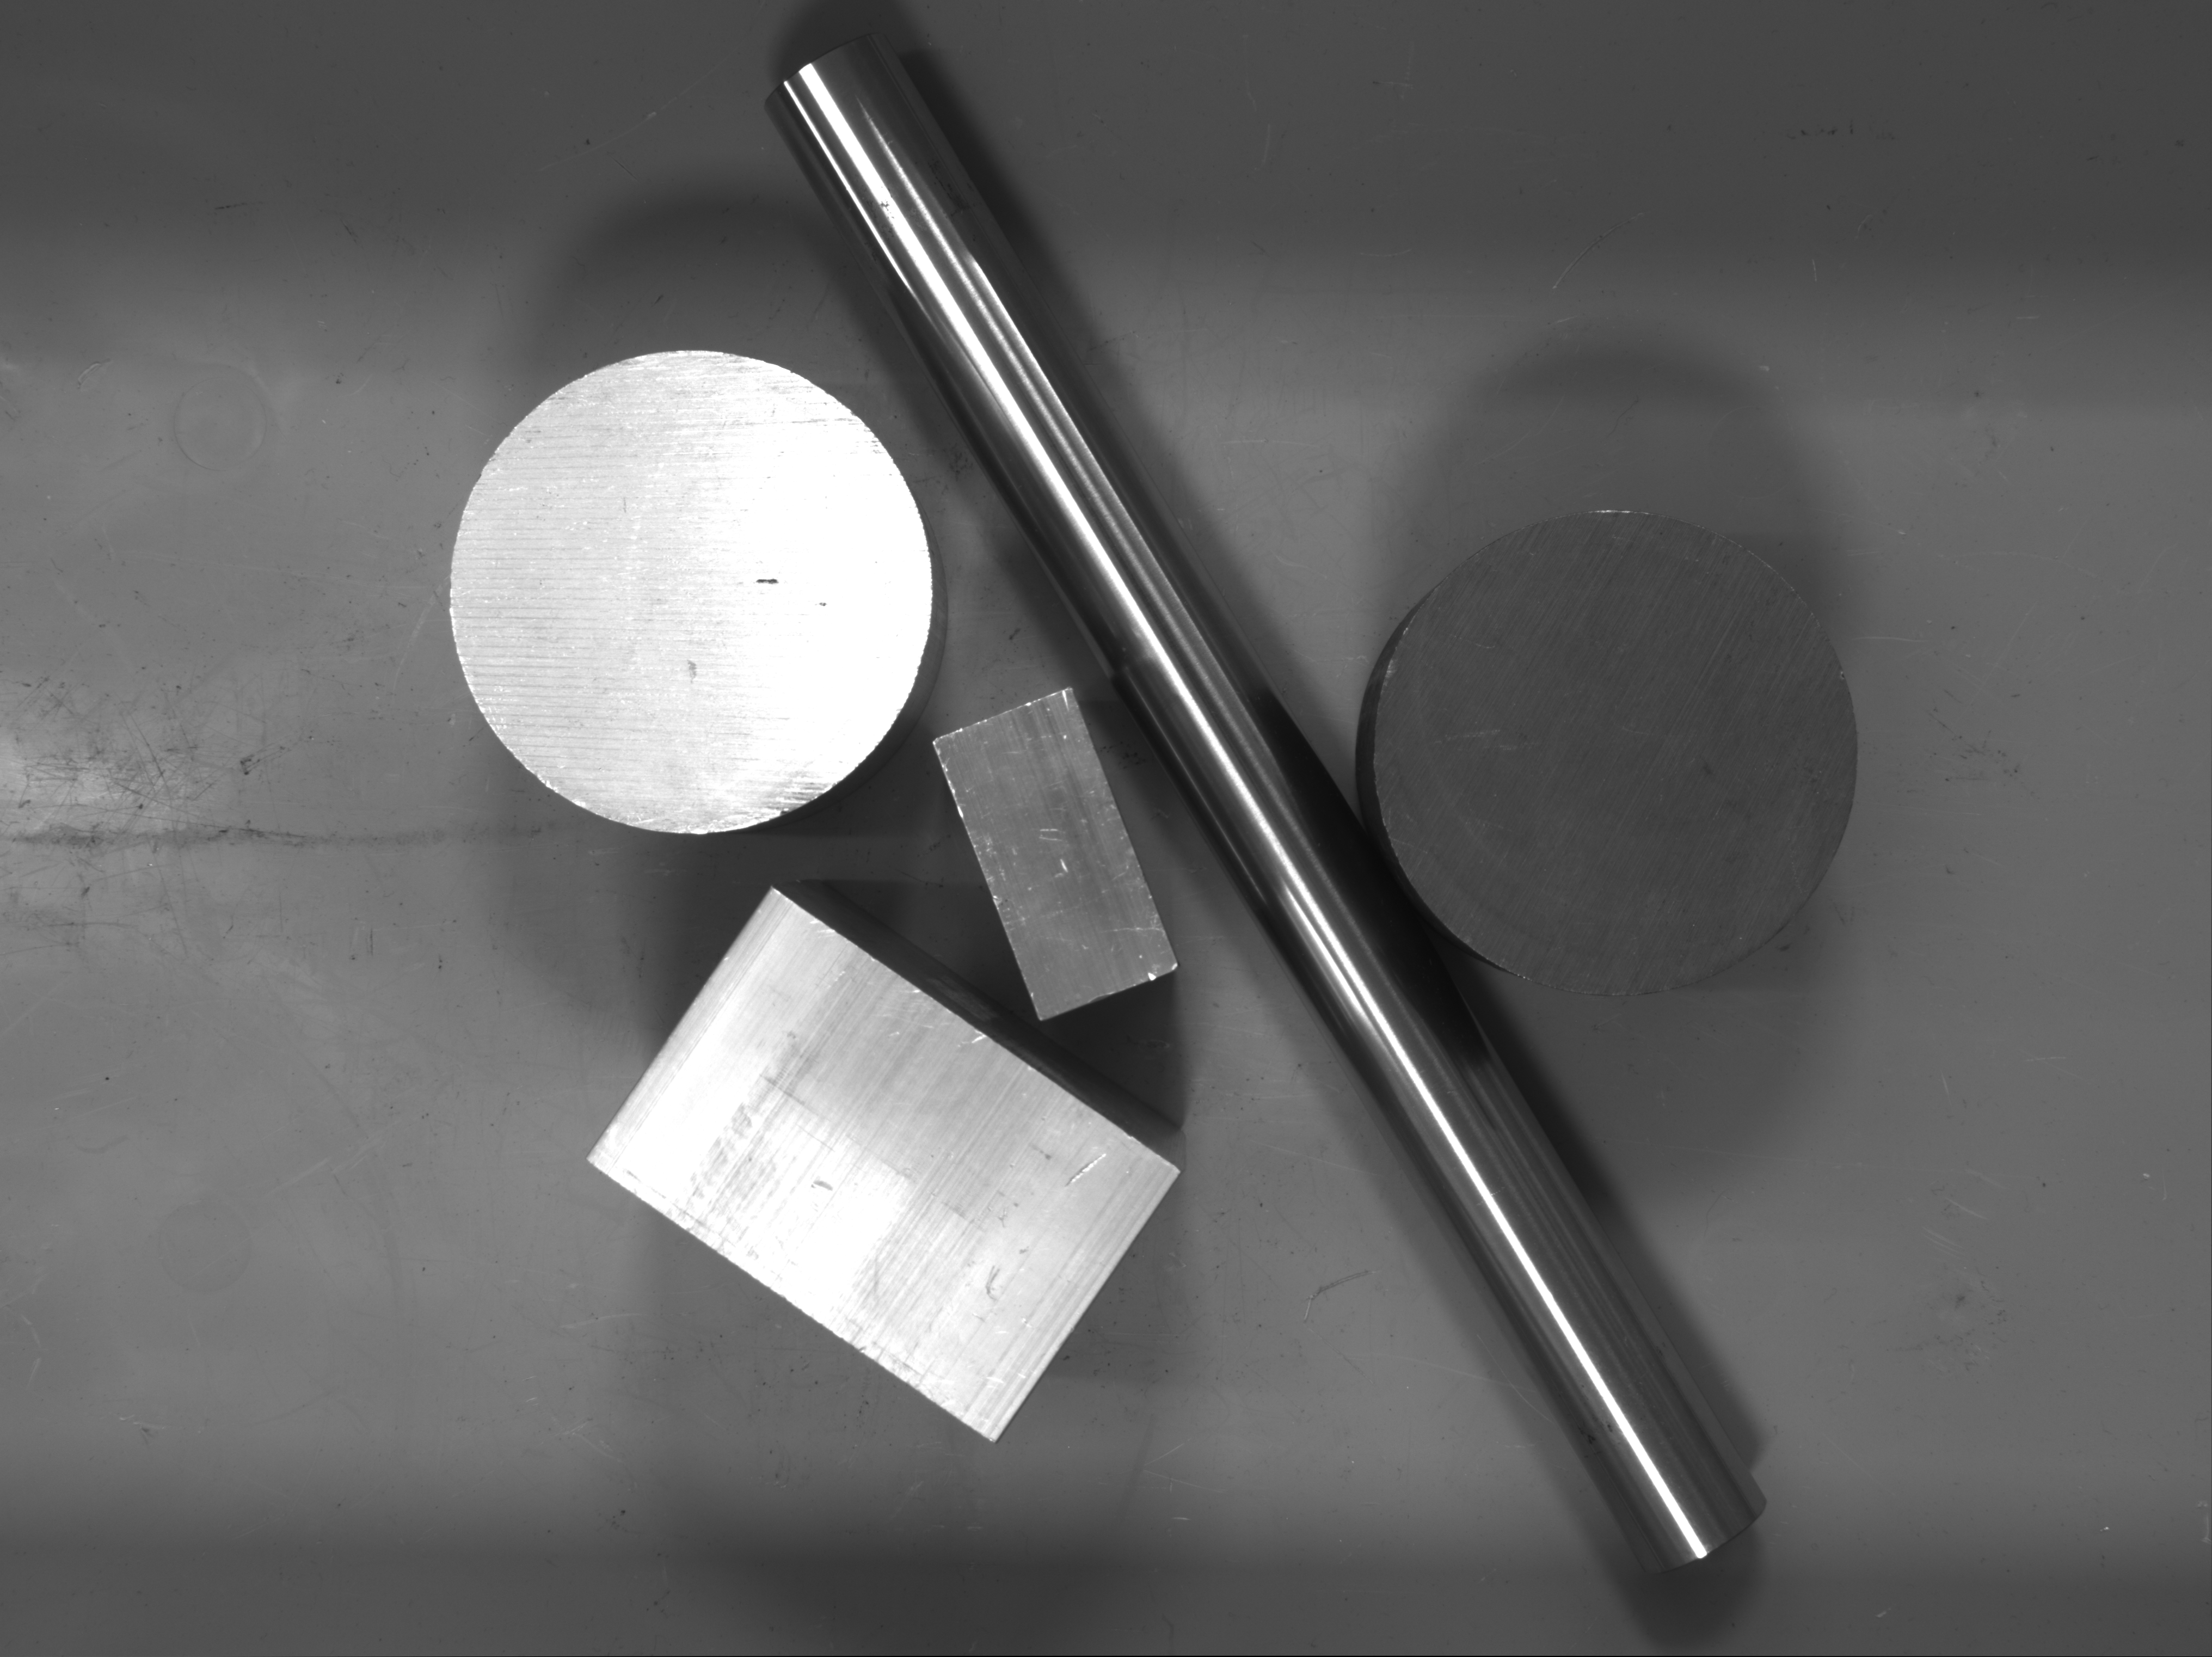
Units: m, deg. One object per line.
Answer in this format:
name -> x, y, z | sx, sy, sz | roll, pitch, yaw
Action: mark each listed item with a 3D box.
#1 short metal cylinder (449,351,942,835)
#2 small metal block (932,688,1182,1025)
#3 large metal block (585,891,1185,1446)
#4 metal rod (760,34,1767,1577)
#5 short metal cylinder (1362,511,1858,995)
short metal cylinder -> -0.068, -0.039, 0.632 | 0.080, 0.050, 0.080 | 0, 90, 0
small metal block -> -0.008, 0.005, 0.632 | 0.025, 0.050, 0.050 | -21, 90, 0
large metal block -> -0.034, 0.054, 0.616 | 0.080, 0.080, 0.050 | 34, 91, 1
metal rod -> 0.028, -0.004, 0.644 | 0.025, 0.025, 0.300 | -31, 90, 0
short metal cylinder -> 0.084, -0.012, 0.632 | 0.080, 0.050, 0.080 | 0, 90, 0
